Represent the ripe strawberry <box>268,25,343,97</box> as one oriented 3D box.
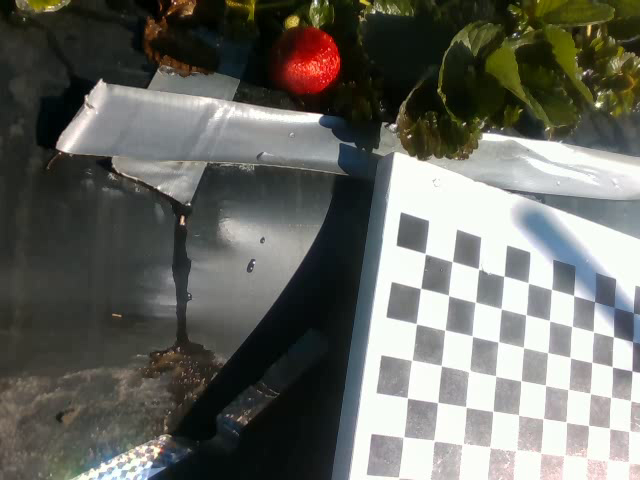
[{"bbox_3d":[-0.011,-0.118,0.379,0.057,0.062,0.065,-36,16,20],"label":"ripe strawberry"}]
